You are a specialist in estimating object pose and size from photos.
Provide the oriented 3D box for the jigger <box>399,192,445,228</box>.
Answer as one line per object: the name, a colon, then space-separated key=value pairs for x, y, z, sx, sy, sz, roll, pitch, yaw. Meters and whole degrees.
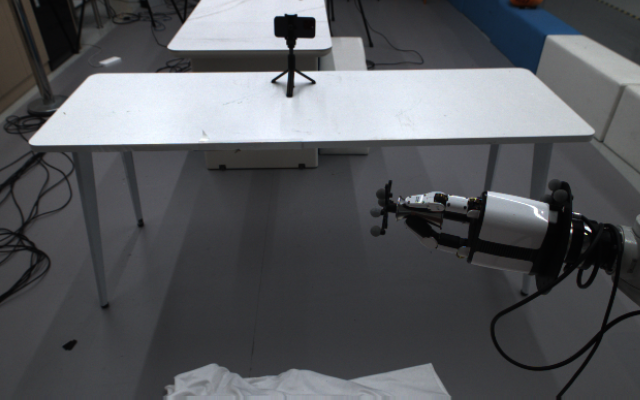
jigger: x=0.156 y=0.012 z=0.721 sx=0.071 sy=0.043 sz=0.043 roll=8 pitch=35 yaw=14
